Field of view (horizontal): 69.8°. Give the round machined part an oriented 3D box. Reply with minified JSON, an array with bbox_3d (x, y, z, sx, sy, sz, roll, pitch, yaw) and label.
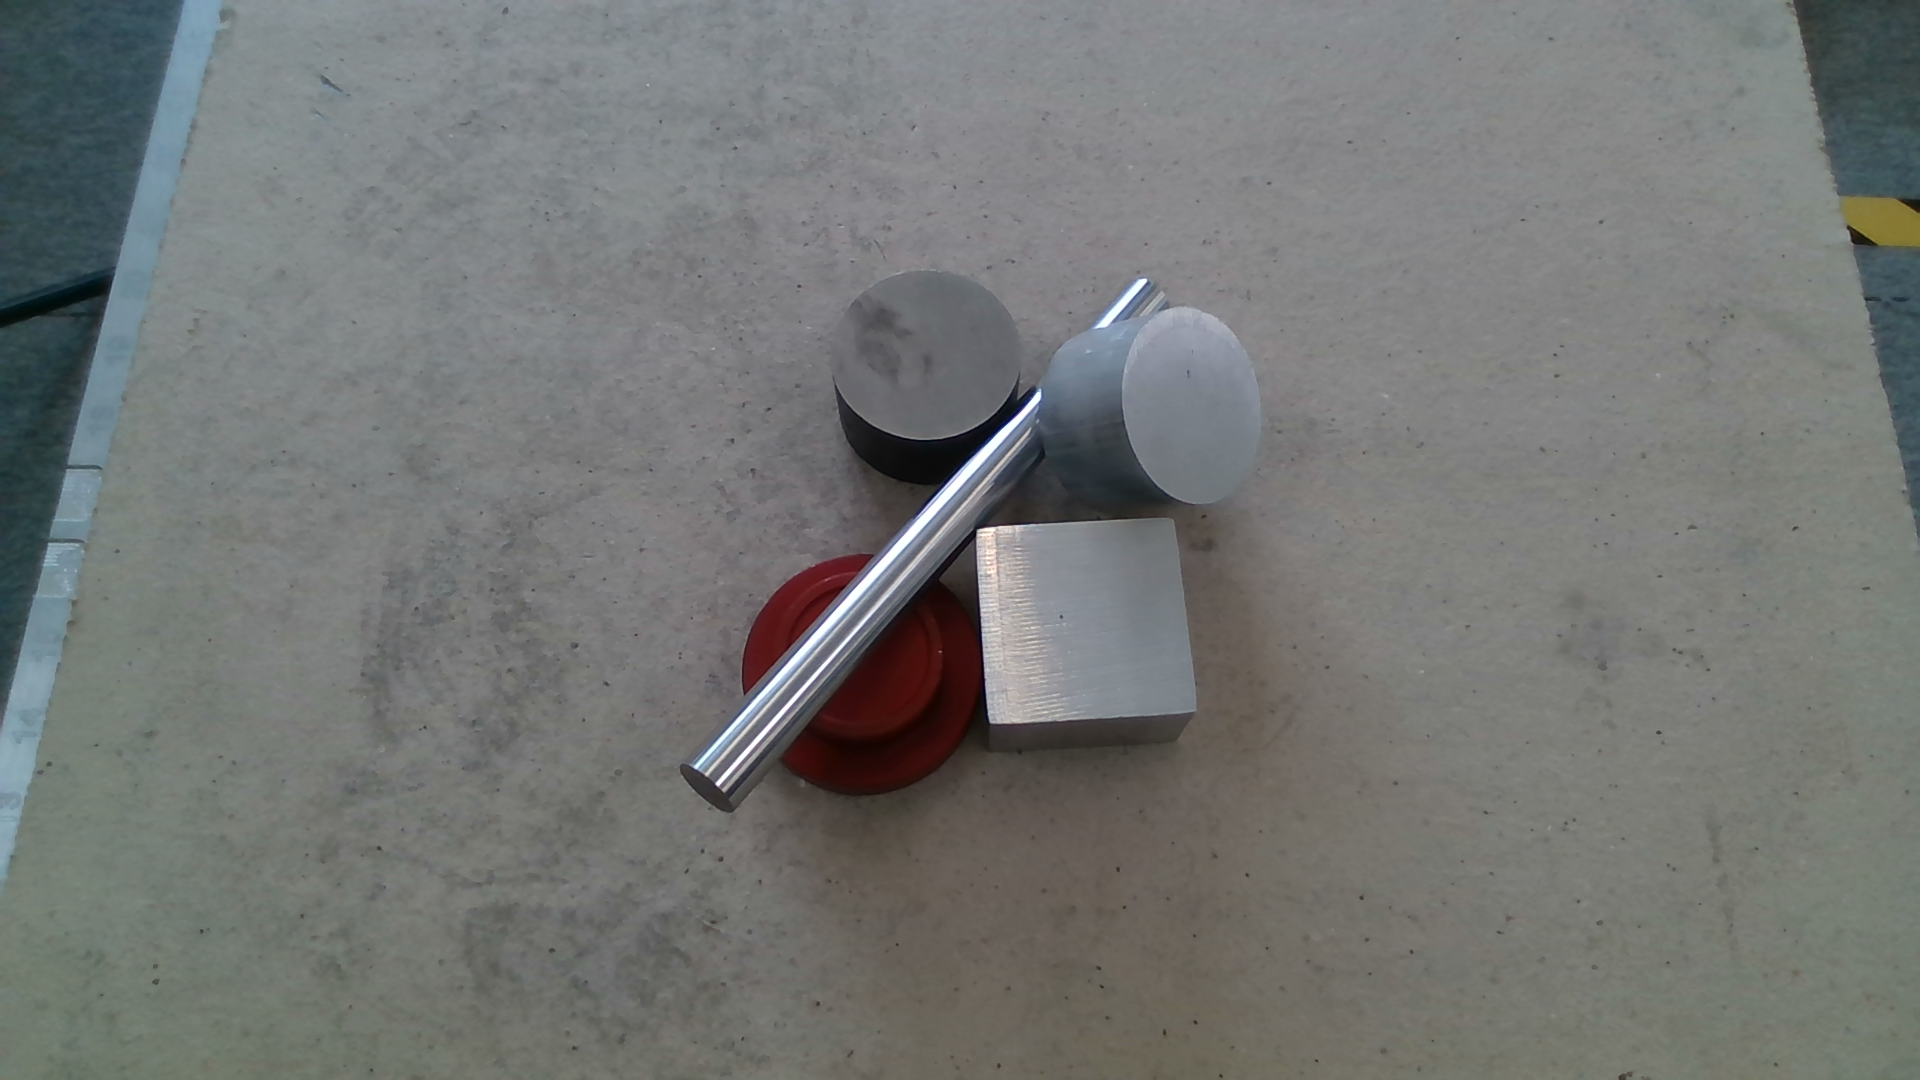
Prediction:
[{"bbox_3d":[-0.041,0.050,0.561,0.098,0.042,0.098,0,70,0],"label":"round machined part"}]

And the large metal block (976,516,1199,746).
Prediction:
[{"bbox_3d":[0.049,0.039,0.559,0.080,0.050,0.080,-3,70,-1],"label":"large metal block"}]

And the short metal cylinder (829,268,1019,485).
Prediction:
[{"bbox_3d":[-0.015,-0.071,0.601,0.080,0.050,0.080,0,70,0],"label":"short metal cylinder"}]

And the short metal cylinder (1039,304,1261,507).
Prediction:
[{"bbox_3d":[0.080,-0.054,0.575,0.080,0.050,0.080,2,86,-37],"label":"short metal cylinder"}]

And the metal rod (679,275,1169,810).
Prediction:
[{"bbox_3d":[-0.002,-0.012,0.557,0.025,0.025,0.299,35,61,12],"label":"metal rod"}]
